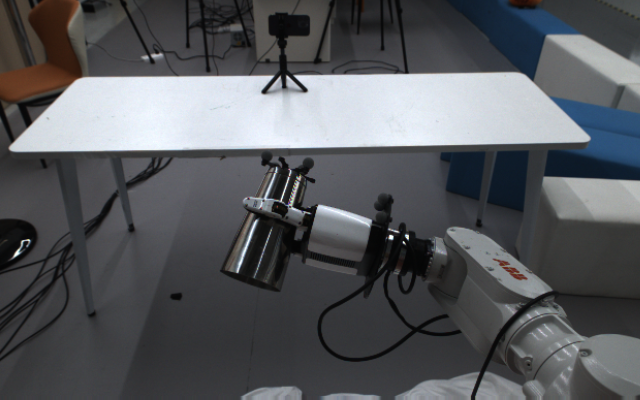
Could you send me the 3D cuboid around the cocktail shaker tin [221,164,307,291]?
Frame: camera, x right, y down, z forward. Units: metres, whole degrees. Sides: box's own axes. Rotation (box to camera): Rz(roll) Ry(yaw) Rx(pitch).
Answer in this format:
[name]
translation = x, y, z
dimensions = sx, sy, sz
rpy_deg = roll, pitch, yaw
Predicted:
[cocktail shaker tin]
translation = -0.078, 0.039, 0.716
dimensions = 0.093, 0.093, 0.170
rpy_deg = 13, 70, 15
